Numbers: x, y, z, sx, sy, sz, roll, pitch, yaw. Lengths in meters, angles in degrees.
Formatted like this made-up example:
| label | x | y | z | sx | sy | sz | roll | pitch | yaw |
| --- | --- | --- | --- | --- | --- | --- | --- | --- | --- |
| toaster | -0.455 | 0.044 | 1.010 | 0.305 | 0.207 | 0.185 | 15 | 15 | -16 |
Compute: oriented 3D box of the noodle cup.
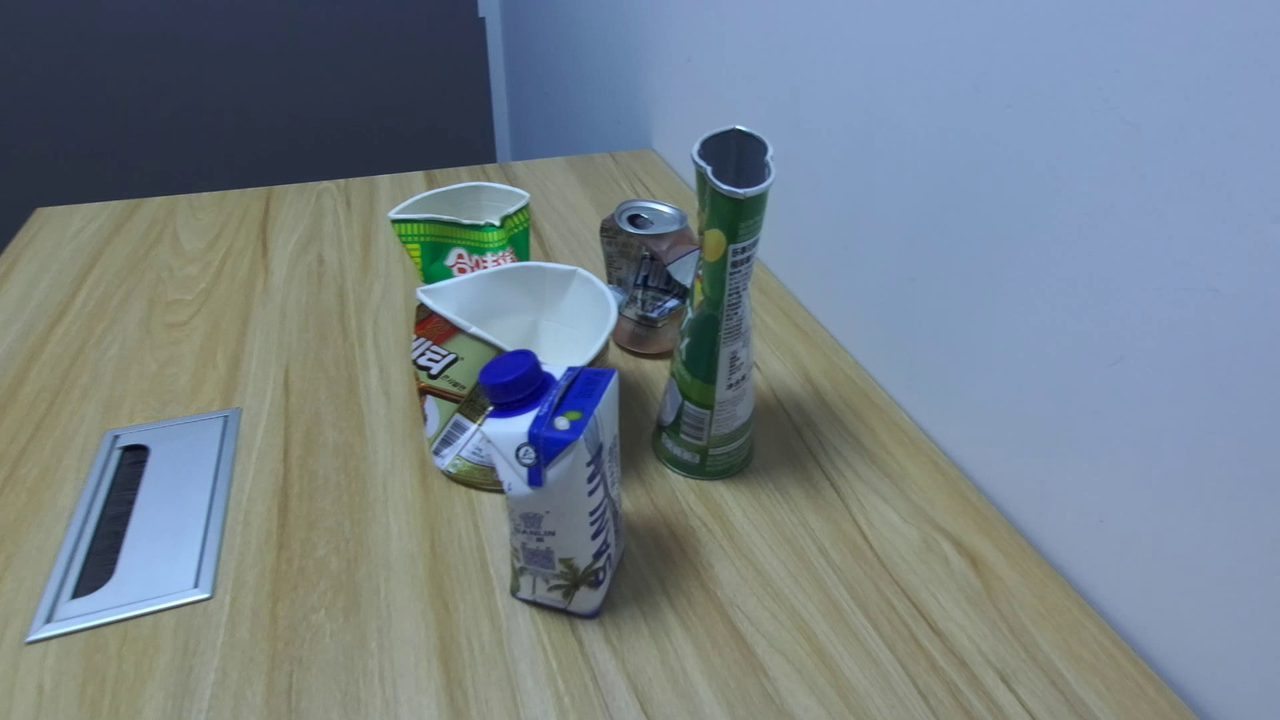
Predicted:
| label | x | y | z | sx | sy | sz | roll | pitch | yaw |
| --- | --- | --- | --- | --- | --- | --- | --- | --- | --- |
| noodle cup | -0.124 | -0.069 | 0.544 | 0.082 | 0.122 | 0.075 | 4 | 29 | 20 |

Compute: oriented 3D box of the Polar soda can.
| label | x | y | z | sx | sy | sz | roll | pitch | yaw |
| --- | --- | --- | --- | --- | --- | --- | --- | --- | --- |
| Polar soda can | 0.010 | -0.062 | 0.540 | 0.074 | 0.114 | 0.070 | -8 | 43 | -8 |

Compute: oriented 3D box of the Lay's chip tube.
| label | x | y | z | sx | sy | sz | roll | pitch | yaw |
| --- | --- | --- | --- | --- | --- | --- | --- | --- | --- |
| Lay's chip tube | 0.047 | -0.023 | 0.411 | 0.069 | 0.199 | 0.074 | -24 | 44 | -31 |

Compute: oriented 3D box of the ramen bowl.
| label | x | y | z | sx | sy | sz | roll | pitch | yaw |
| --- | --- | --- | --- | --- | --- | --- | --- | --- | --- |
| ramen bowl | -0.076 | 0.009 | 0.458 | 0.137 | 0.098 | 0.137 | 4 | 40 | -3 |

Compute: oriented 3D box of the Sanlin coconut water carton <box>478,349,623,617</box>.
| label | x | y | z | sx | sy | sz | roll | pitch | yaw |
| --- | --- | --- | --- | --- | --- | --- | --- | --- | --- |
| Sanlin coconut water carton | -0.040 | 0.060 | 0.353 | 0.057 | 0.142 | 0.078 | 6 | 36 | 15 |
